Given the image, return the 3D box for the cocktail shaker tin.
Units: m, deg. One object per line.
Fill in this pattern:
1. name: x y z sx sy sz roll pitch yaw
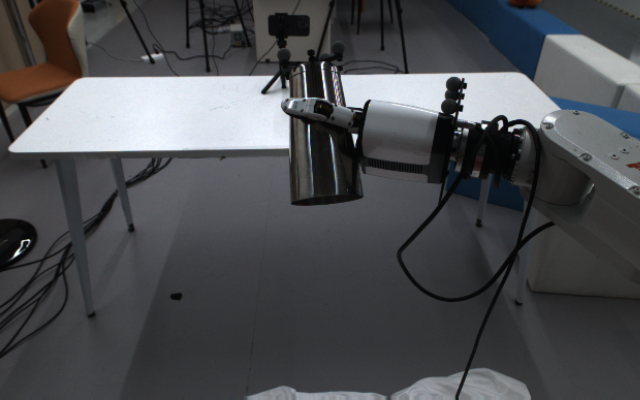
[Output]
1. cocktail shaker tin: 0.001 -0.083 0.618 0.093 0.170 0.093 -6 -7 -1
